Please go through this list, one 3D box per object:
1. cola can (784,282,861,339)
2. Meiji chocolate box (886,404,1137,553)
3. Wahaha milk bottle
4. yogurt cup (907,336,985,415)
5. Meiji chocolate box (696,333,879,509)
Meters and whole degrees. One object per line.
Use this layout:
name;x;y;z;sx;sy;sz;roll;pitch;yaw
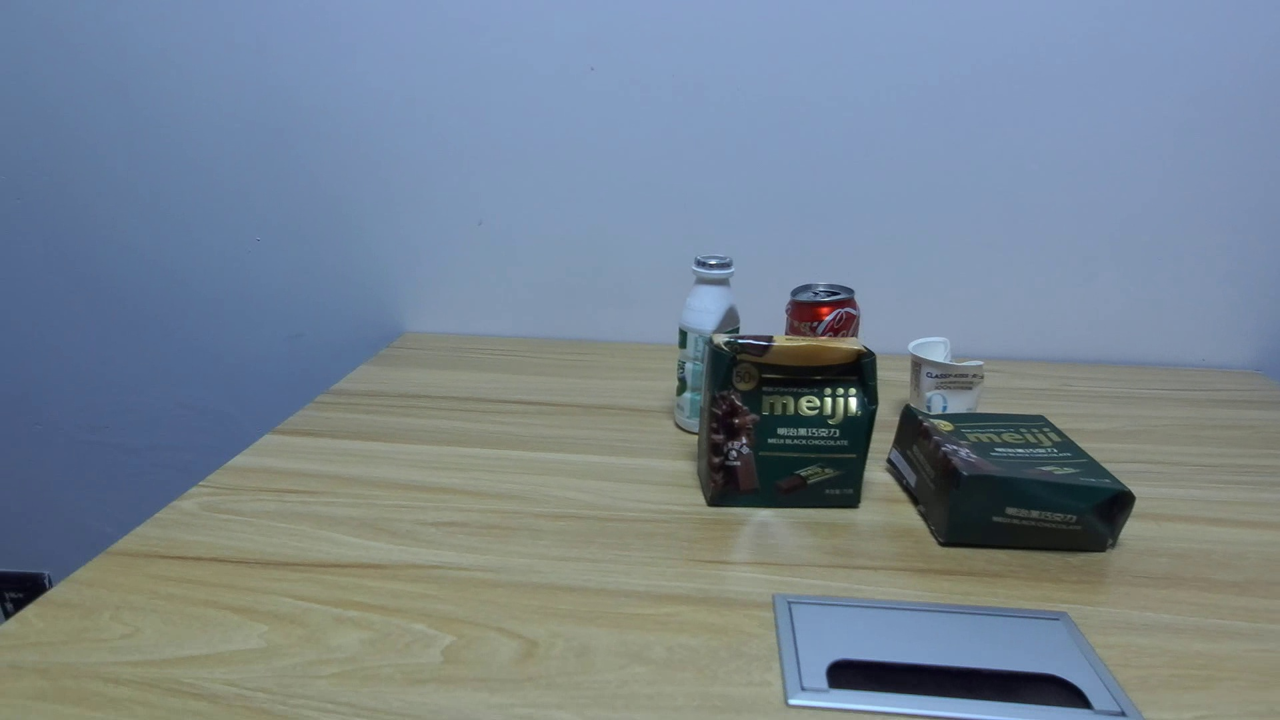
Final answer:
cola can;0.161;-0.006;0.625;0.065;0.117;0.072;-1;20;-5
Meiji chocolate box;0.249;0.080;0.489;0.116;0.058;0.122;5;20;-1
Wahaha milk bottle;0.059;-0.012;0.588;0.056;0.147;0.056;2;18;0
yogurt cup;0.262;0.025;0.618;0.067;0.070;0.067;2;21;0
Meiji chocolate box;0.103;0.041;0.499;0.117;0.117;0.051;2;13;-2
